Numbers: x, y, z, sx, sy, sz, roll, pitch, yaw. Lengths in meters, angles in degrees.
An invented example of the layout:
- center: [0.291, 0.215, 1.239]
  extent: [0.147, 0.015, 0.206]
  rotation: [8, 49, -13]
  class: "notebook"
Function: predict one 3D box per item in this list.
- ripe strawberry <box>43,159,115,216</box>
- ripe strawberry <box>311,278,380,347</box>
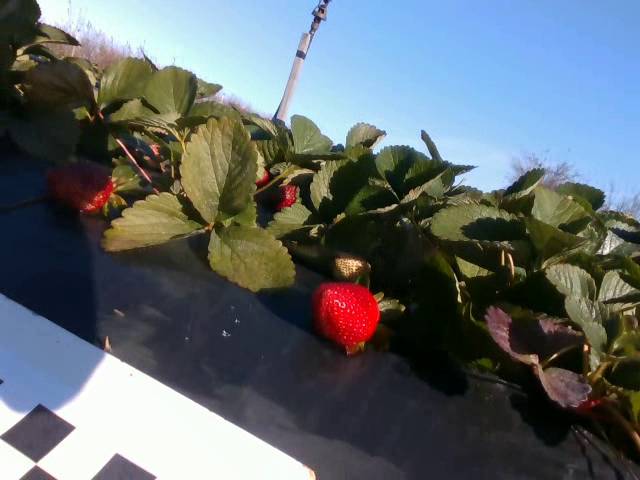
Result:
- center: [-0.166, -0.038, 0.412]
  extent: [0.041, 0.043, 0.053]
  rotation: [34, 1, 23]
  class: "ripe strawberry"
- center: [0.011, 0.040, 0.337]
  extent: [0.050, 0.043, 0.043]
  rotation: [41, 11, -50]
  class: "ripe strawberry"
